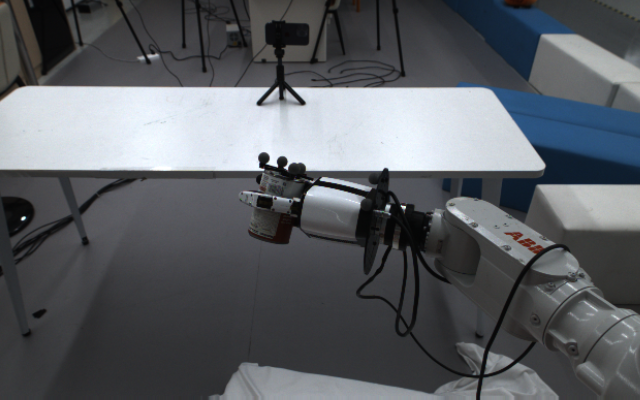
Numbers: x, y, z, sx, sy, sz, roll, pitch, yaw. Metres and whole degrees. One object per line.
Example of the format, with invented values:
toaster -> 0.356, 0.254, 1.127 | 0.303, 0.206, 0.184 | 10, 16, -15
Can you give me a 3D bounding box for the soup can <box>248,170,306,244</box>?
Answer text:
soup can -> -0.067, 0.011, 0.745 | 0.067, 0.101, 0.067 | 15, 7, -2
